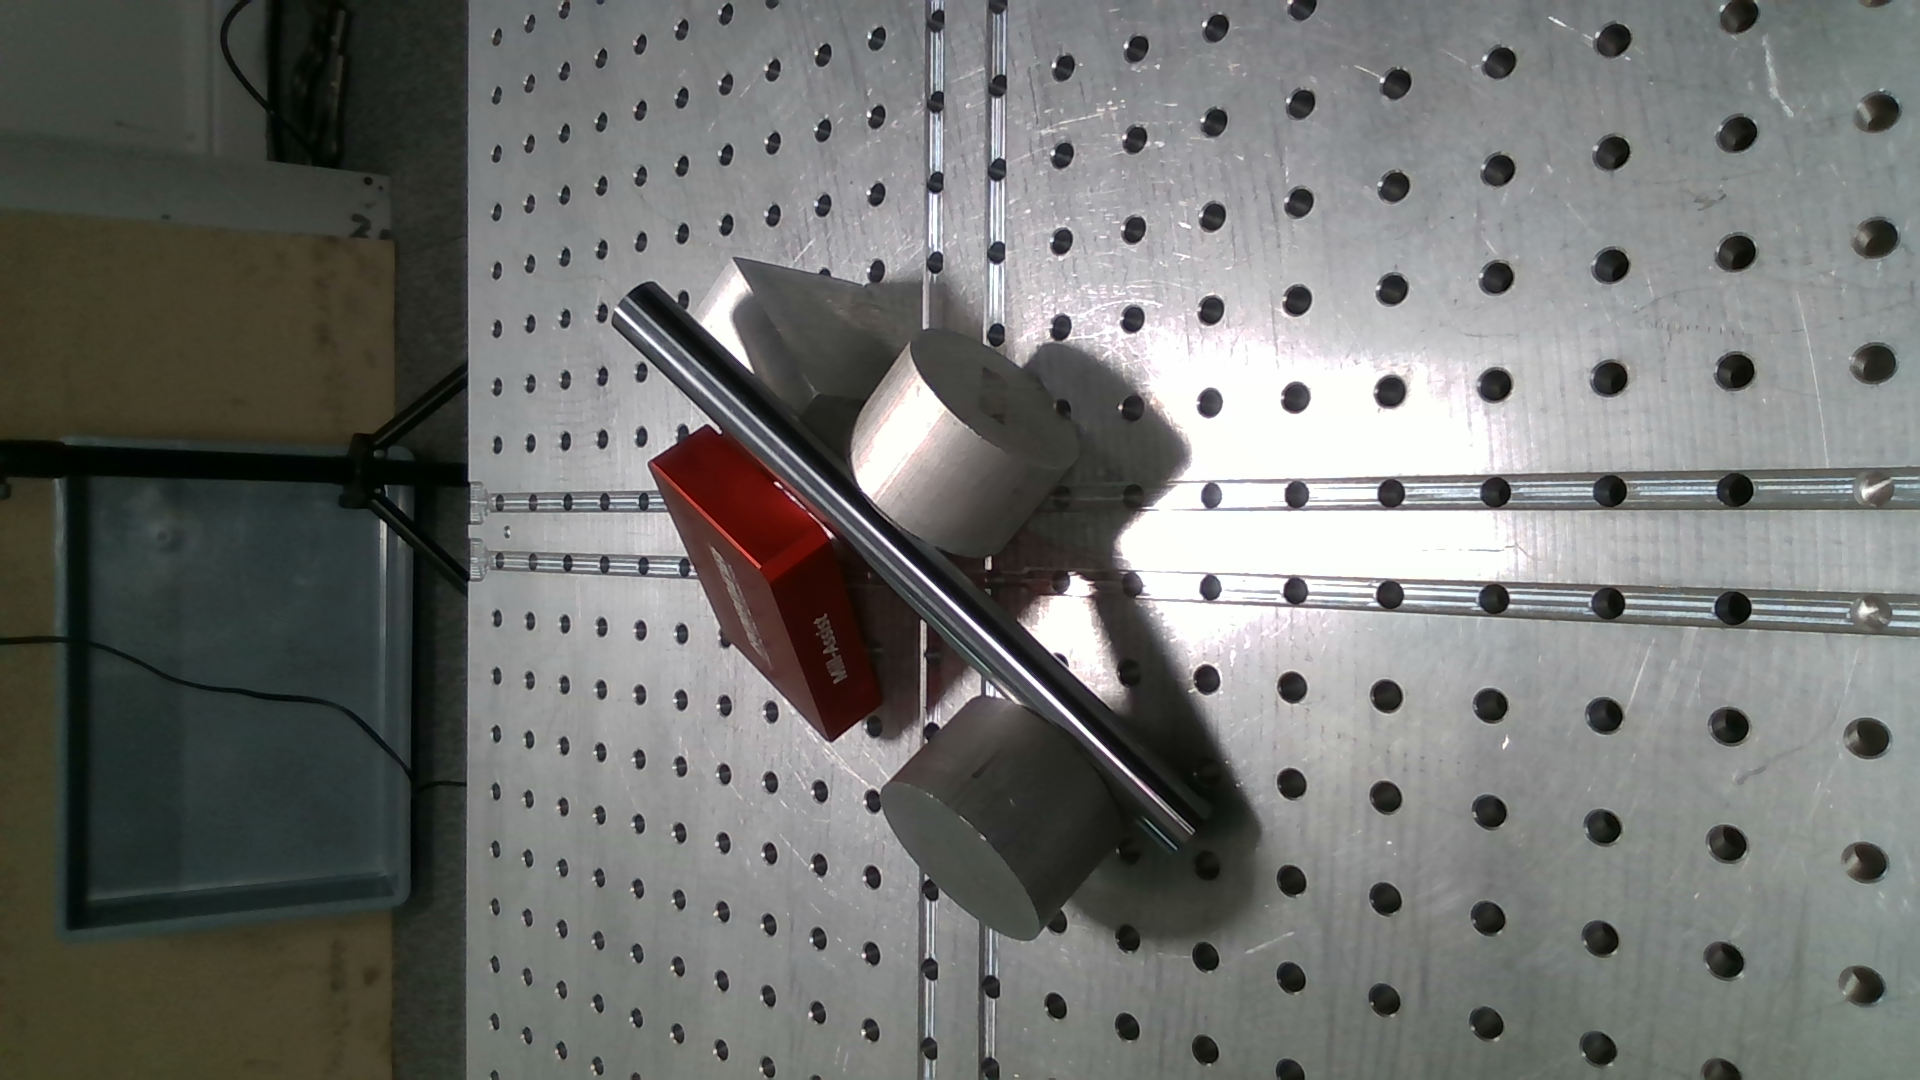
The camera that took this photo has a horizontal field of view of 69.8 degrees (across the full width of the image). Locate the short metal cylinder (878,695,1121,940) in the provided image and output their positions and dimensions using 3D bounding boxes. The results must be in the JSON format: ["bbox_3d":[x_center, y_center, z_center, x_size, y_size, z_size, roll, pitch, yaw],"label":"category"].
[{"bbox_3d":[0.015,0.107,0.531,0.080,0.050,0.080,35,150,24],"label":"short metal cylinder"}]

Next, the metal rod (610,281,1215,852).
[{"bbox_3d":[-0.022,0.006,0.534,0.300,0.025,0.025,43,118,8],"label":"metal rod"}]

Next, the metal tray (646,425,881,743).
[{"bbox_3d":[-0.084,0.022,0.601,0.090,0.030,0.130,39,156,33],"label":"metal tray"}]

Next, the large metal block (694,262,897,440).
[{"bbox_3d":[-0.067,-0.070,0.604,0.050,0.080,0.080,-47,62,30],"label":"large metal block"}]

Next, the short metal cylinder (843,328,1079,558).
[{"bbox_3d":[0.000,-0.039,0.548,0.050,0.080,0.080,-51,60,28],"label":"short metal cylinder"}]
